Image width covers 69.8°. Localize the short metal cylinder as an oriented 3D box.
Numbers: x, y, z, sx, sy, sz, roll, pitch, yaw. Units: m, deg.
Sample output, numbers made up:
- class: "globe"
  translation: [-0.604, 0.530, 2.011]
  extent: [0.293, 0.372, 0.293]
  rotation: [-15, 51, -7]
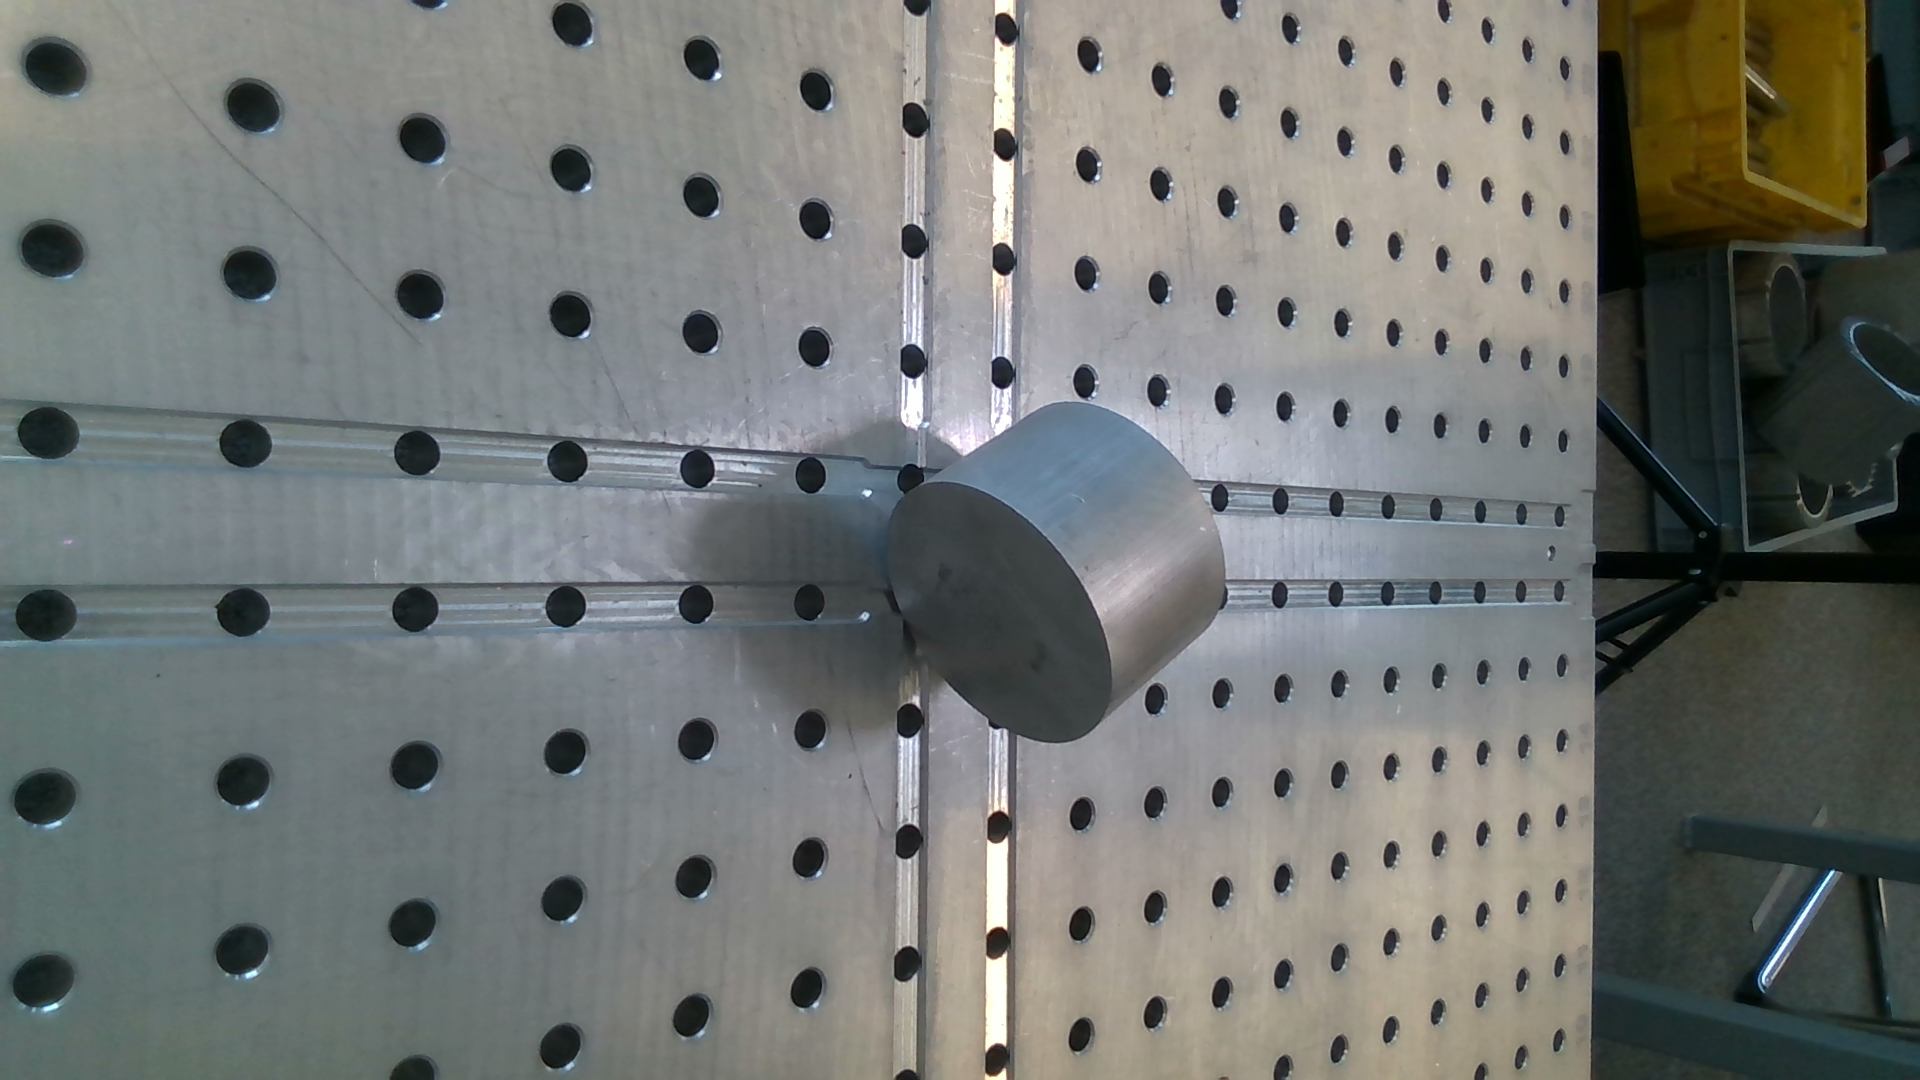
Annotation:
- class: "short metal cylinder"
  translation: [0.026, 0.008, 0.379]
  extent: [0.050, 0.080, 0.080]
  rotation: [-36, 112, -35]
